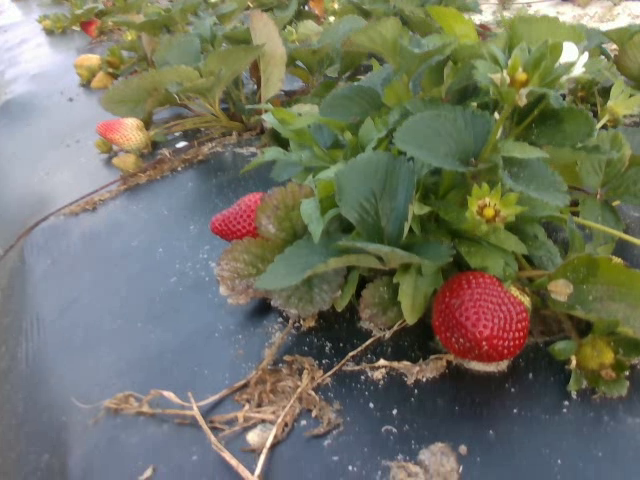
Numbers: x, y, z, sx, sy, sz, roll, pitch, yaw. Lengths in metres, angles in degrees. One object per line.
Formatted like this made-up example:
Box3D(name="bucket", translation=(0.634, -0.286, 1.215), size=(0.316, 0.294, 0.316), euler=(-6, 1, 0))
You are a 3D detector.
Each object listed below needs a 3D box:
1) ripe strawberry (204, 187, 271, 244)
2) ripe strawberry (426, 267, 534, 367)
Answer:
Box3D(name="ripe strawberry", translation=(-0.044, -0.009, 0.373), size=(0.050, 0.043, 0.043), euler=(-13, 33, -13))
Box3D(name="ripe strawberry", translation=(0.067, 0.033, 0.262), size=(0.043, 0.047, 0.046), euler=(-25, 7, 14))
